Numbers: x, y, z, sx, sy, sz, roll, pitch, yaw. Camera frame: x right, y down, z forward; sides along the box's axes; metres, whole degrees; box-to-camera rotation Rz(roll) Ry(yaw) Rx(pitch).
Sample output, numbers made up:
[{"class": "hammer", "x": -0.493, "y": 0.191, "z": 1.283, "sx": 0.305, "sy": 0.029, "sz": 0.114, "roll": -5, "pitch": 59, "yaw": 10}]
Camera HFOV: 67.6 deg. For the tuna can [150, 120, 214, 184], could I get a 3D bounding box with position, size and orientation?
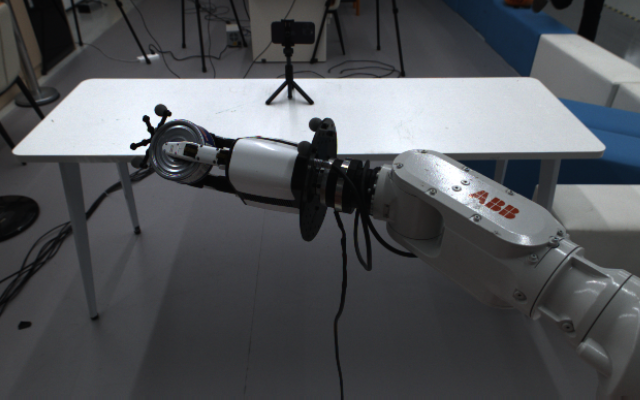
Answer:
[{"class": "tuna can", "x": -0.188, "y": -0.067, "z": 0.661, "sx": 0.085, "sy": 0.085, "sz": 0.034, "roll": 12, "pitch": -3, "yaw": 15}]
